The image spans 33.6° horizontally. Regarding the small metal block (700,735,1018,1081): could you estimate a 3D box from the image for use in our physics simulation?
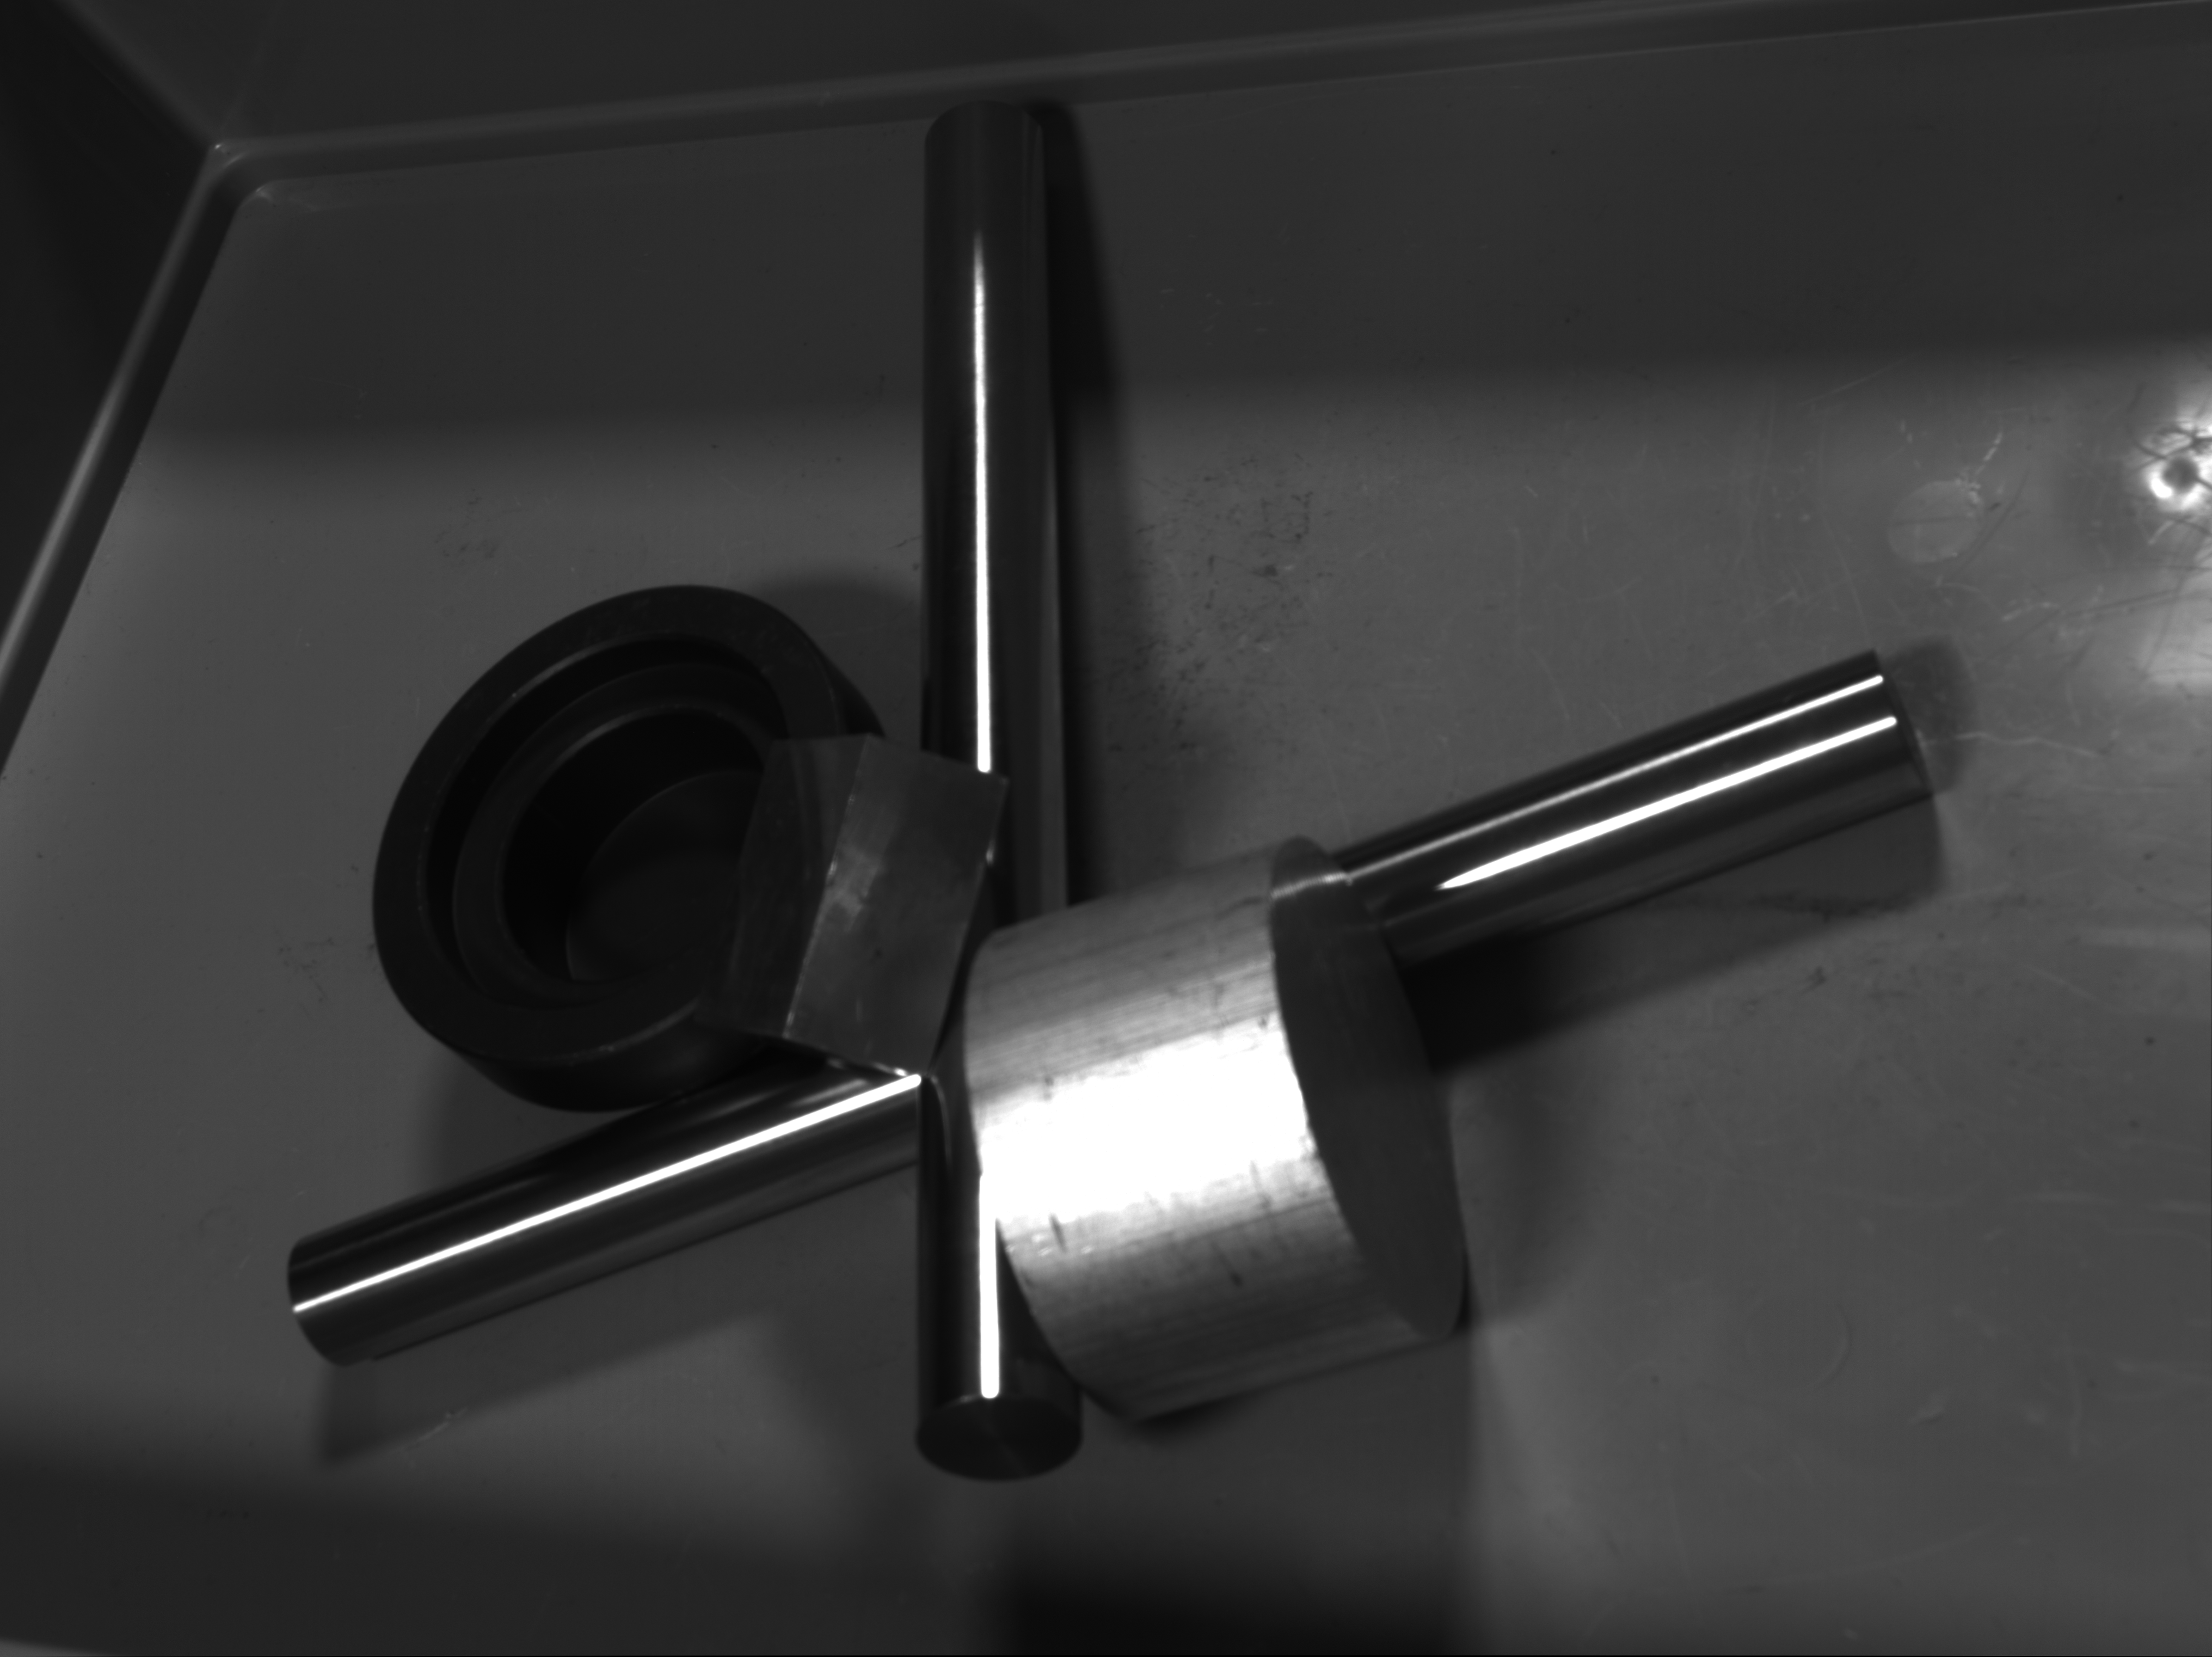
[{"bbox_3d":[-0.041,0.013,0.605,0.050,0.025,0.050,1,75,67],"label":"small metal block"}]

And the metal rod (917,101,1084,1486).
[{"bbox_3d":[-0.020,-0.023,0.644,0.025,0.025,0.300,-18,47,18],"label":"metal rod"}]

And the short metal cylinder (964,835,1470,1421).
[{"bbox_3d":[0.018,0.047,0.569,0.050,0.080,0.080,-18,54,18],"label":"short metal cylinder"}]

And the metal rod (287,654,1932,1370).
[{"bbox_3d":[-0.007,0.035,0.625,0.300,0.025,0.025,-21,54,16],"label":"metal rod"}]

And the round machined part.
[{"bbox_3d":[-0.081,0.008,0.672,0.098,0.042,0.098,-13,56,21],"label":"round machined part"}]
